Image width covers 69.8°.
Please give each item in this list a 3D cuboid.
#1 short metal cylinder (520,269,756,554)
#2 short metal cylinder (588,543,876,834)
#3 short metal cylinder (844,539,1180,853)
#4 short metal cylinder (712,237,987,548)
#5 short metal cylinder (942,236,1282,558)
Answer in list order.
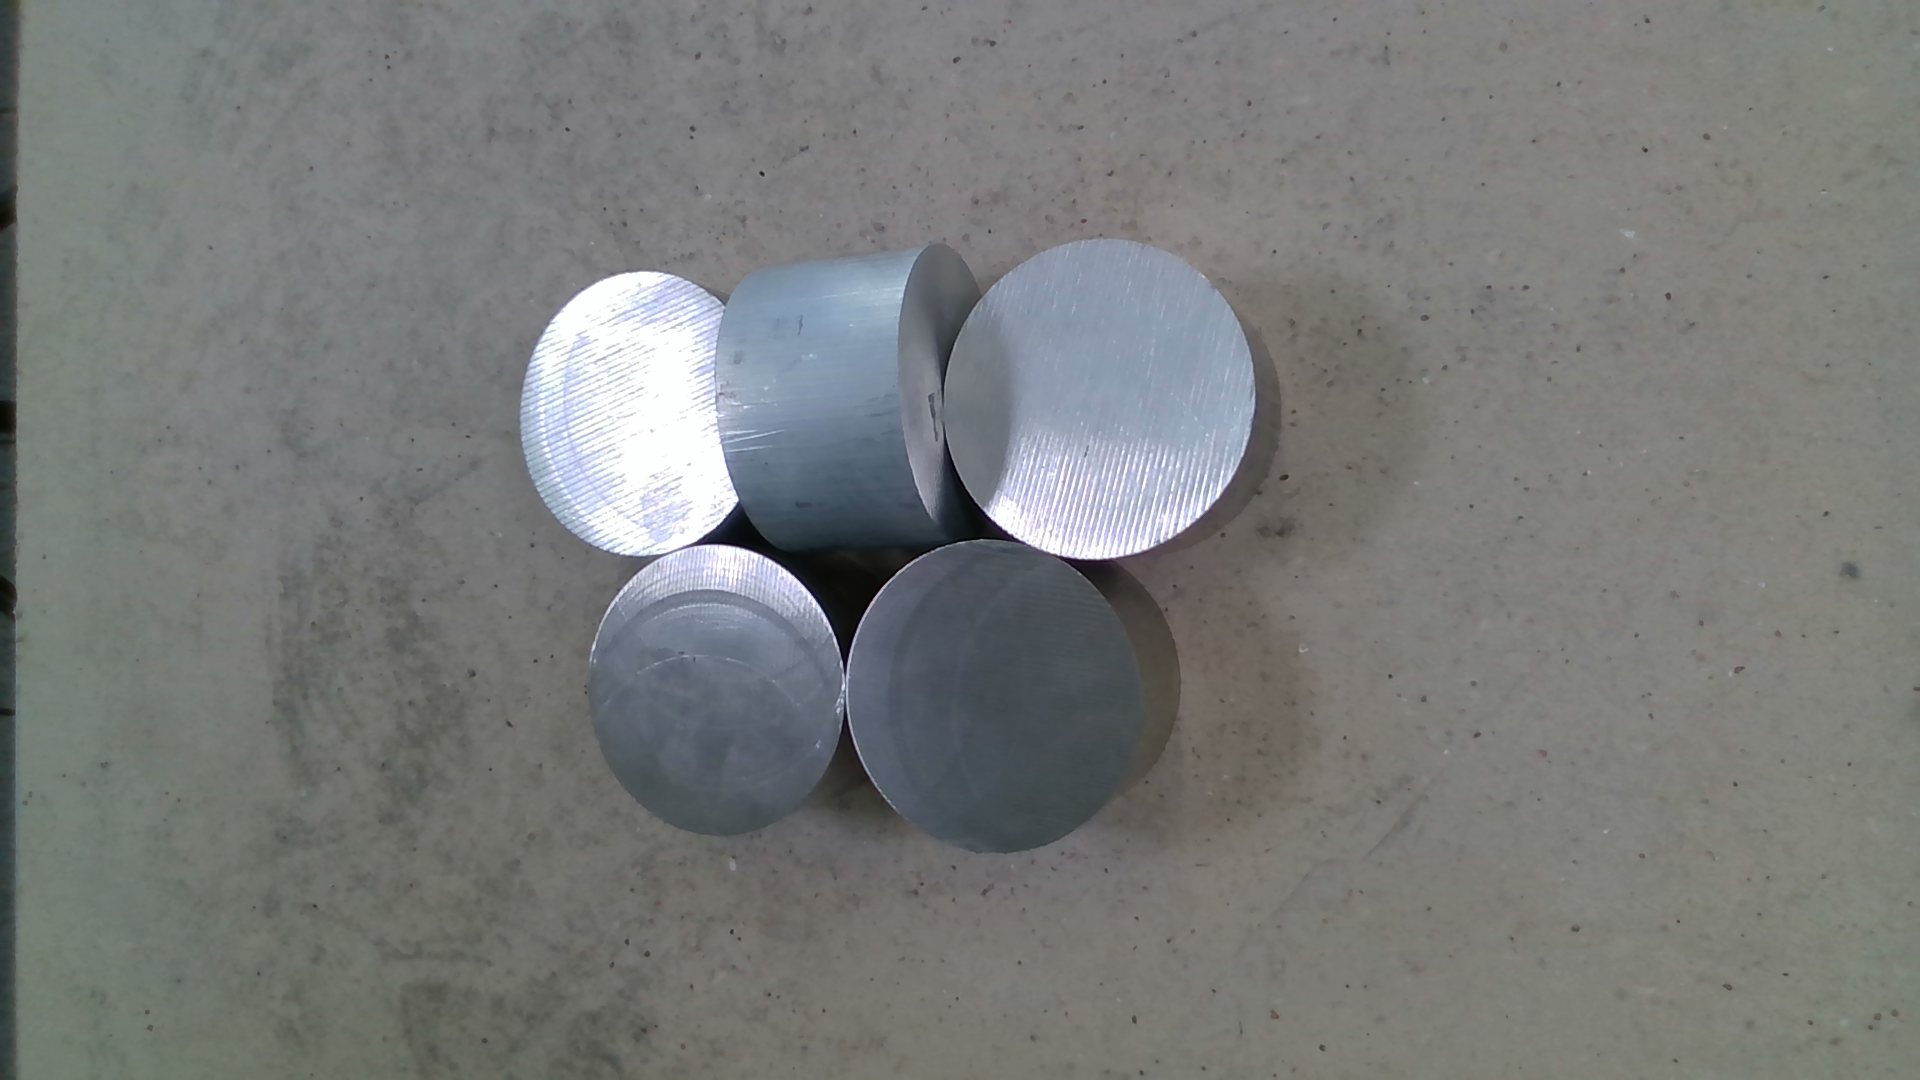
[{"bbox_3d":[-0.082,-0.036,0.410,0.080,0.050,0.080,0,89,20],"label":"short metal cylinder"},{"bbox_3d":[-0.060,0.041,0.402,0.080,0.050,0.080,0,89,21],"label":"short metal cylinder"},{"bbox_3d":[0.015,0.040,0.375,0.080,0.050,0.080,0,90,21],"label":"short metal cylinder"},{"bbox_3d":[-0.025,-0.038,0.374,0.050,0.080,0.080,-3,89,20],"label":"short metal cylinder"},{"bbox_3d":[0.041,-0.035,0.365,0.080,0.050,0.080,0,89,20],"label":"short metal cylinder"}]
